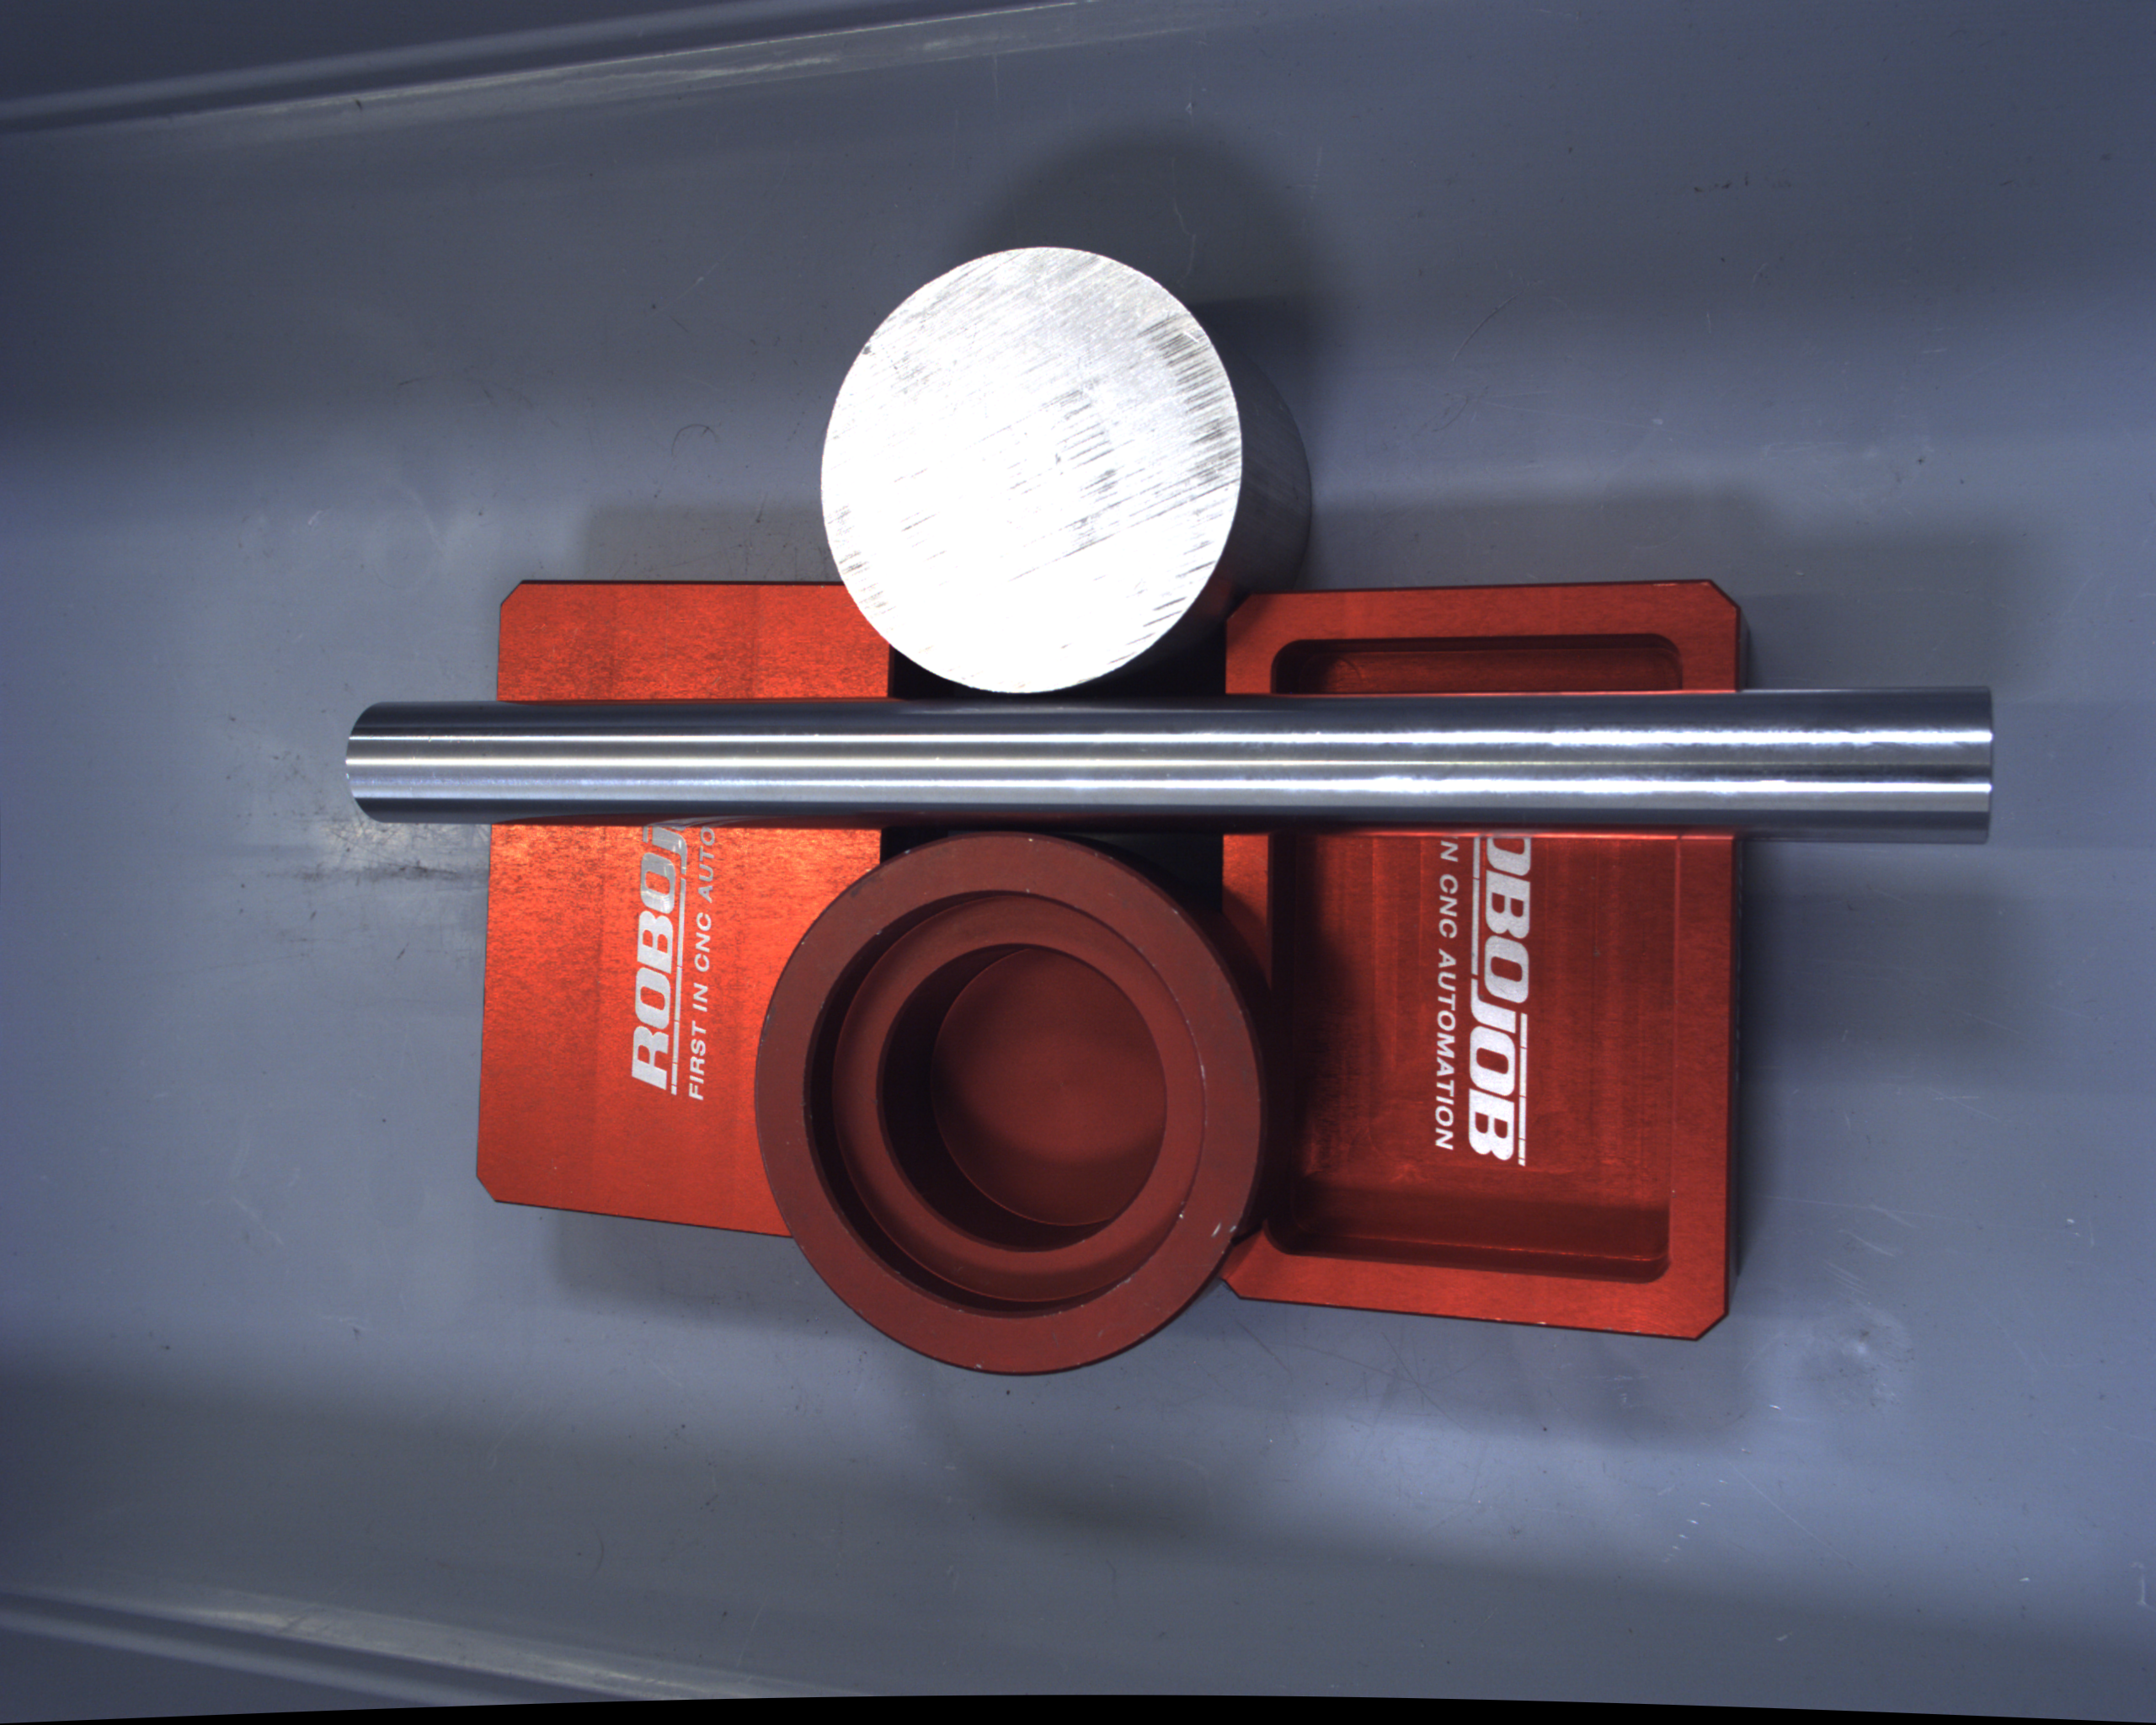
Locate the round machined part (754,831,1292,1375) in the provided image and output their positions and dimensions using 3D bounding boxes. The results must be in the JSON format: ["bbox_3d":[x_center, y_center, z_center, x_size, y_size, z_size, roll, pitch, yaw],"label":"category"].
[{"bbox_3d":[-0.007,0.043,0.392,0.098,0.042,0.097,0,90,19],"label":"round machined part"}]

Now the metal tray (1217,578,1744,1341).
[{"bbox_3d":[0.073,0.016,0.380,0.090,0.030,0.129,1,90,19],"label":"metal tray"}]

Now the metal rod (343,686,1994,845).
[{"bbox_3d":[0.000,-0.018,0.376,0.301,0.025,0.025,1,91,19],"label":"metal rod"}]

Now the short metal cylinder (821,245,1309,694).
[{"bbox_3d":[-0.001,-0.070,0.395,0.080,0.050,0.079,0,90,20],"label":"short metal cylinder"}]

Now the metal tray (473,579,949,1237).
[{"bbox_3d":[-0.076,0.008,0.431,0.090,0.030,0.129,3,91,19],"label":"metal tray"}]
